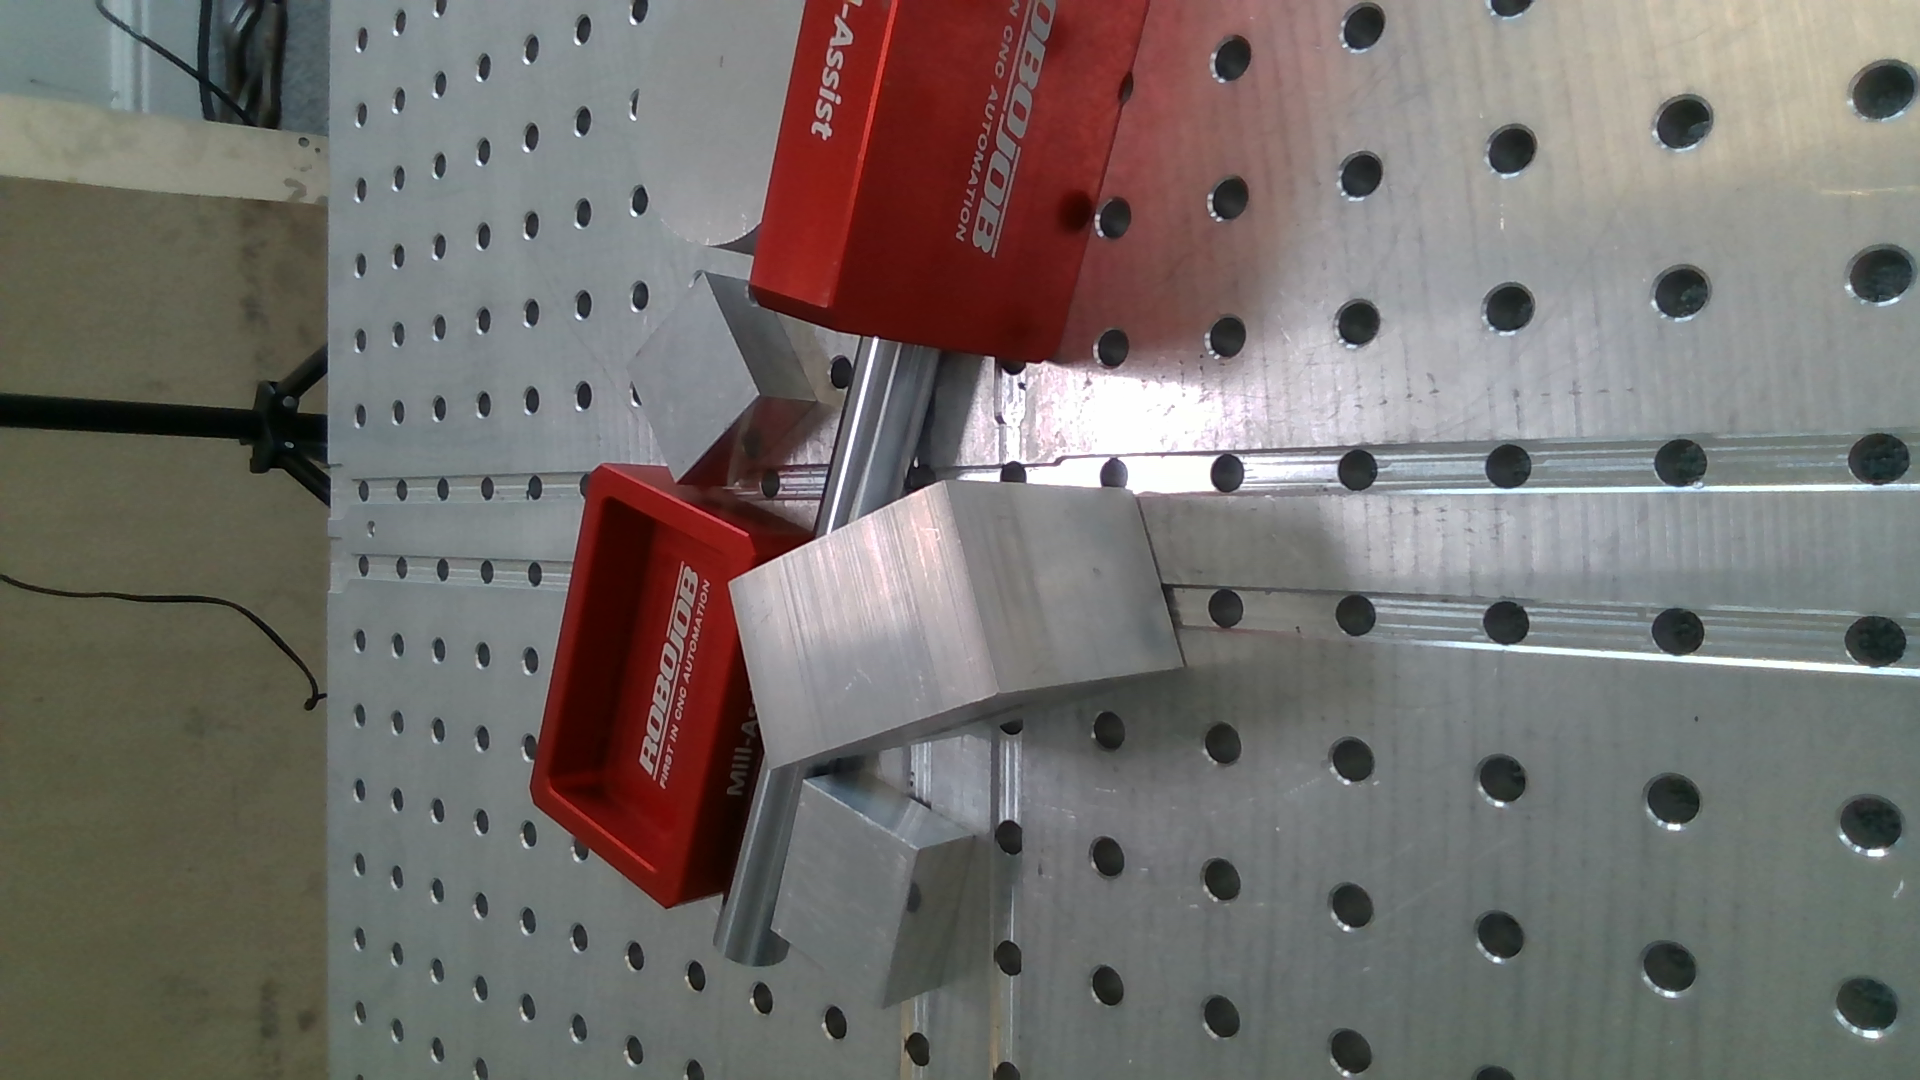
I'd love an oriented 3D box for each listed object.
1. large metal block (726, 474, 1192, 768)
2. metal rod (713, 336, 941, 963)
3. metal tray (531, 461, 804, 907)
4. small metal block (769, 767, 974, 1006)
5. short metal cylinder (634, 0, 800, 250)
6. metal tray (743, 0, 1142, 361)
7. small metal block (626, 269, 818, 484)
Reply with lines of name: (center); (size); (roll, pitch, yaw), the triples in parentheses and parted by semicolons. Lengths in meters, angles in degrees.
large metal block: (0.000, 0.021, 0.360); (0.080, 0.080, 0.050); (-24, 75, 38)
metal rod: (-0.031, -0.009, 0.420); (0.025, 0.025, 0.300); (25, 106, 37)
metal tray: (-0.102, 0.047, 0.476); (0.090, 0.030, 0.130); (24, 105, 38)
small metal block: (-0.028, 0.104, 0.418); (0.050, 0.025, 0.050); (22, 104, 38)
short metal cylinder: (-0.055, -0.127, 0.422); (0.080, 0.050, 0.080); (0, 91, 40)
metal tray: (0.001, -0.116, 0.348); (0.030, 0.090, 0.130); (24, 106, 38)
small metal block: (-0.081, -0.054, 0.462); (0.050, 0.025, 0.050); (-40, 66, 33)
